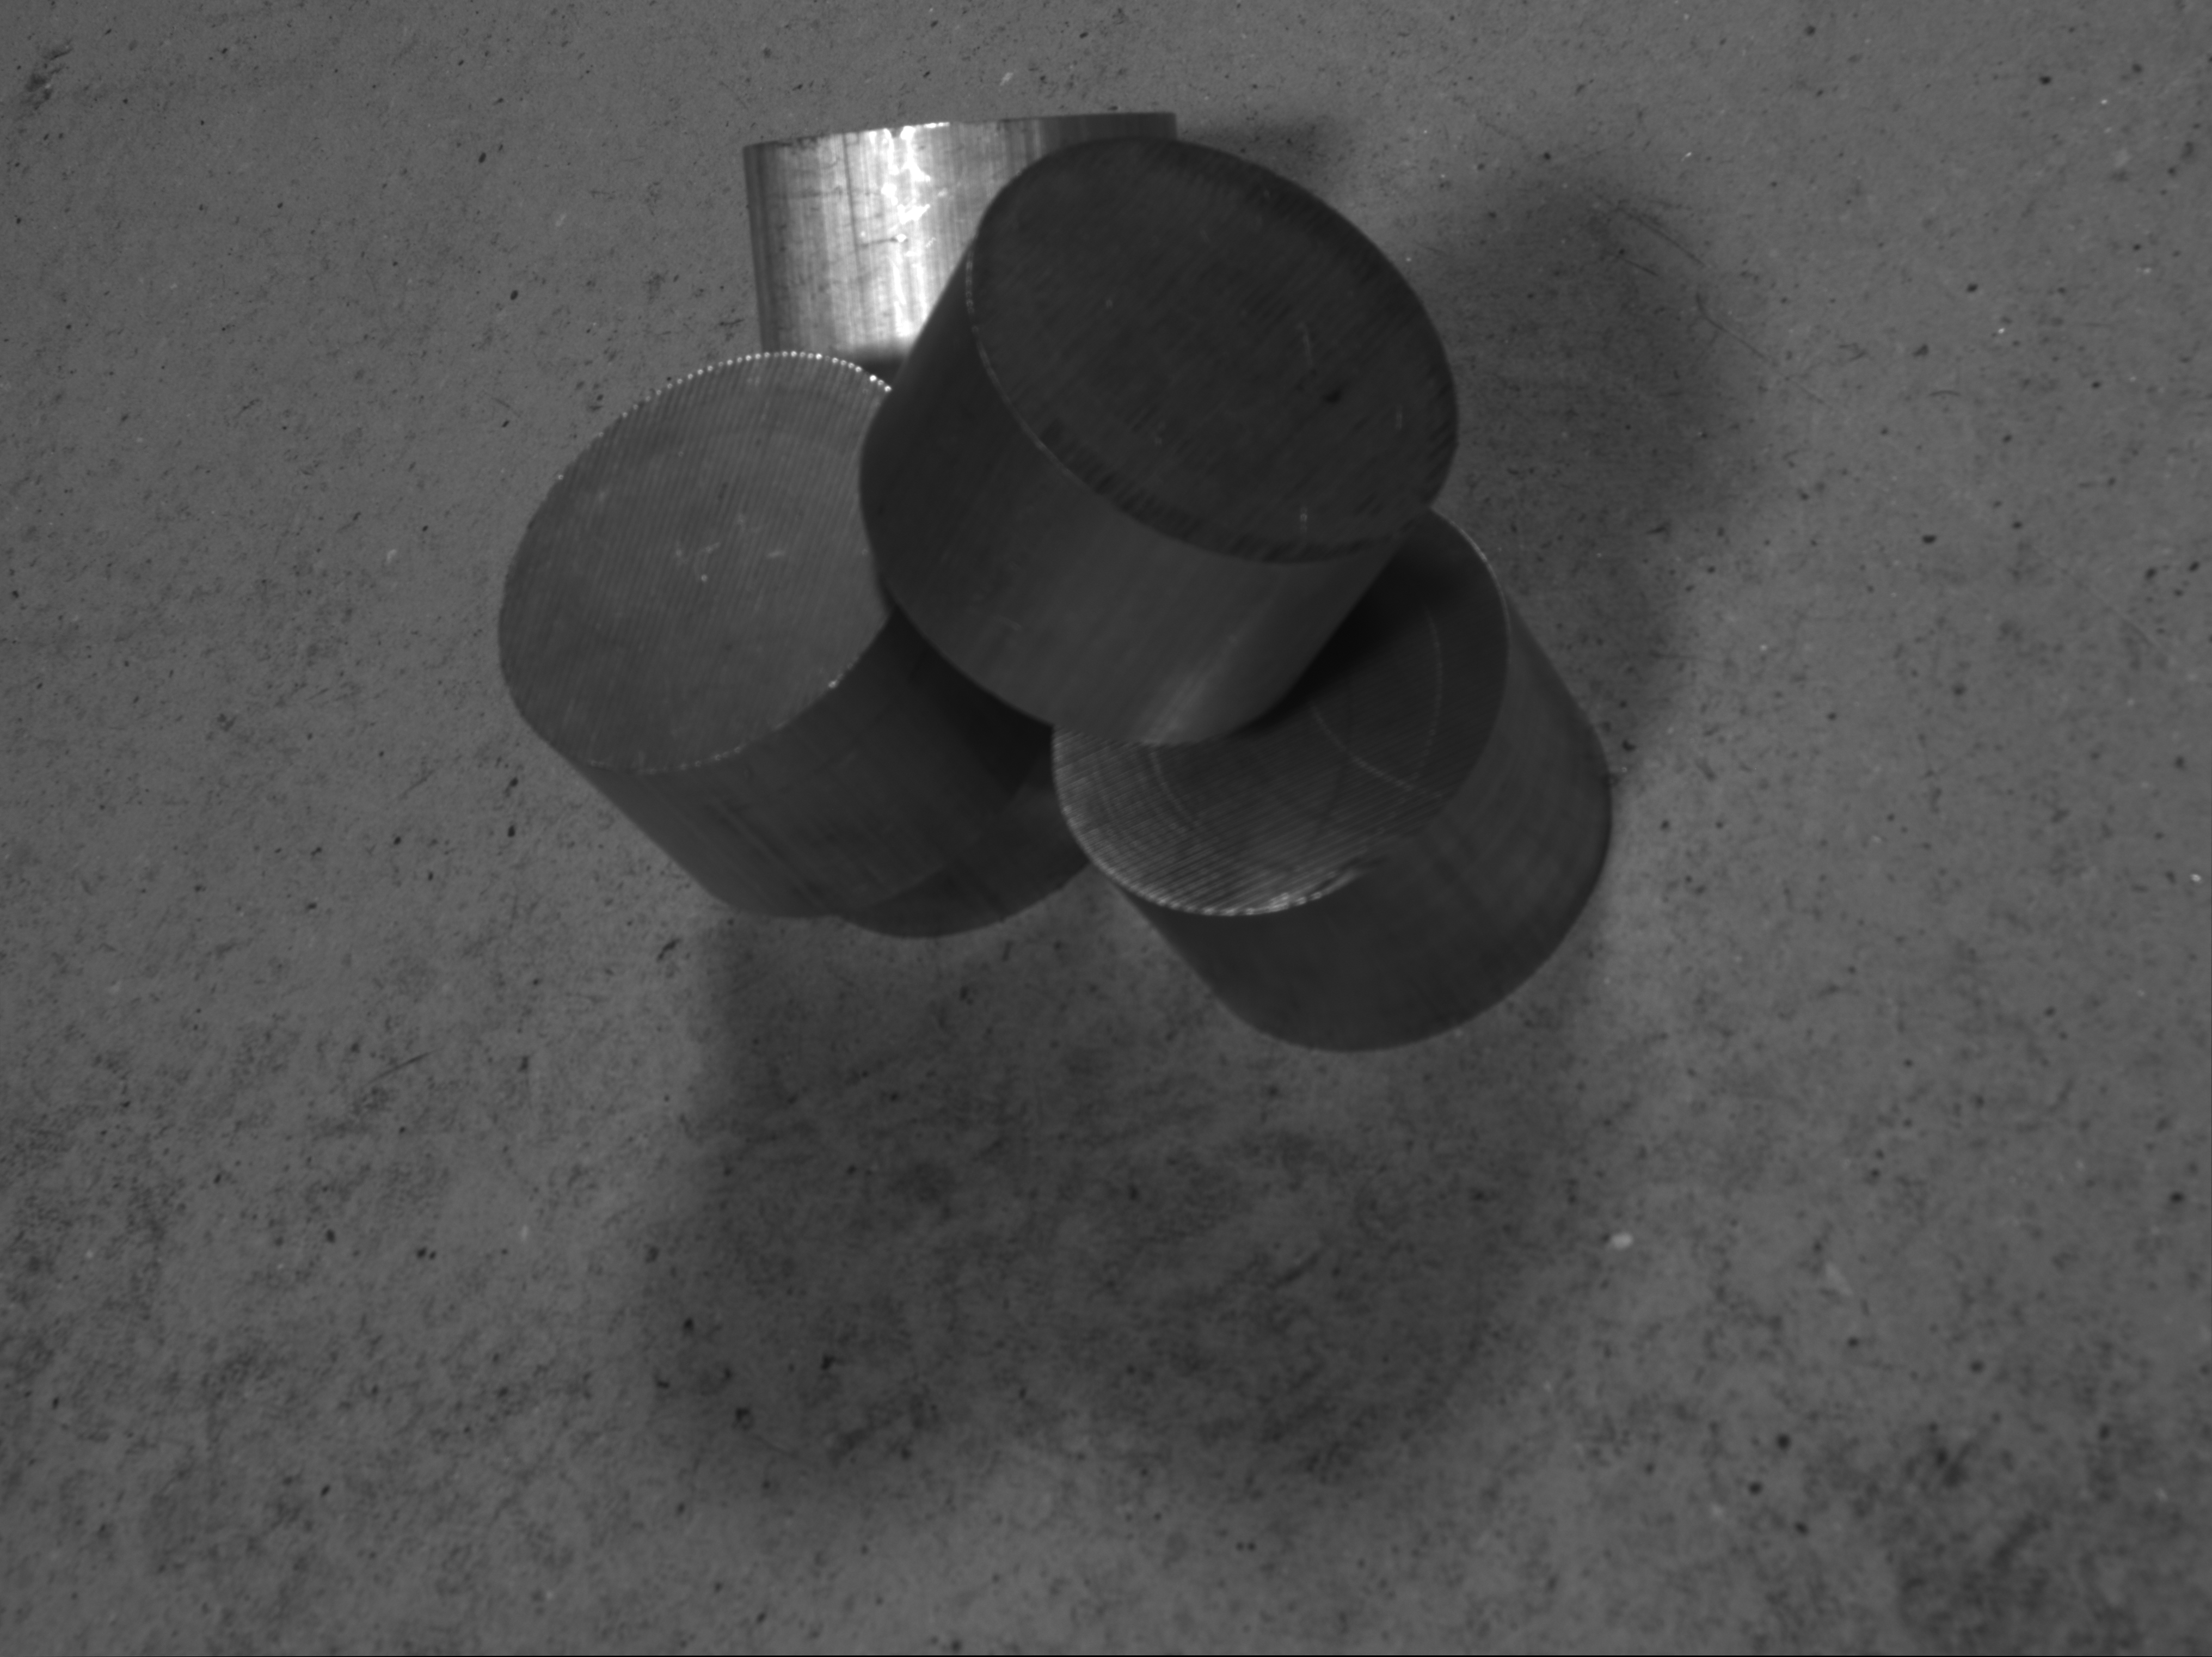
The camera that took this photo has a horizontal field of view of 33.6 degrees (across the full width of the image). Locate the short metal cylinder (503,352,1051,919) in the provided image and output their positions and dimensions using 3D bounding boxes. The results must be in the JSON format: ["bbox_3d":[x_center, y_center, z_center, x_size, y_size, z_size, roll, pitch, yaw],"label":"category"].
[{"bbox_3d":[-0.053,-0.032,0.611,0.080,0.050,0.080,-13,56,21],"label":"short metal cylinder"}]

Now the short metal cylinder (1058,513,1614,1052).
[{"bbox_3d":[0.039,-0.010,0.613,0.080,0.050,0.080,-13,56,21],"label":"short metal cylinder"}]

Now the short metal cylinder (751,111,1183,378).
[{"bbox_3d":[-0.024,-0.104,0.677,0.080,0.080,0.050,0,100,28],"label":"short metal cylinder"}]

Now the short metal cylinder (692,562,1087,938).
[{"bbox_3d":[-0.035,-0.027,0.664,0.080,0.050,0.080,-13,56,21],"label":"short metal cylinder"}]

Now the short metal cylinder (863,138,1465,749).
[{"bbox_3d":[0.008,-0.059,0.567,0.050,0.080,0.080,127,148,-50],"label":"short metal cylinder"}]
